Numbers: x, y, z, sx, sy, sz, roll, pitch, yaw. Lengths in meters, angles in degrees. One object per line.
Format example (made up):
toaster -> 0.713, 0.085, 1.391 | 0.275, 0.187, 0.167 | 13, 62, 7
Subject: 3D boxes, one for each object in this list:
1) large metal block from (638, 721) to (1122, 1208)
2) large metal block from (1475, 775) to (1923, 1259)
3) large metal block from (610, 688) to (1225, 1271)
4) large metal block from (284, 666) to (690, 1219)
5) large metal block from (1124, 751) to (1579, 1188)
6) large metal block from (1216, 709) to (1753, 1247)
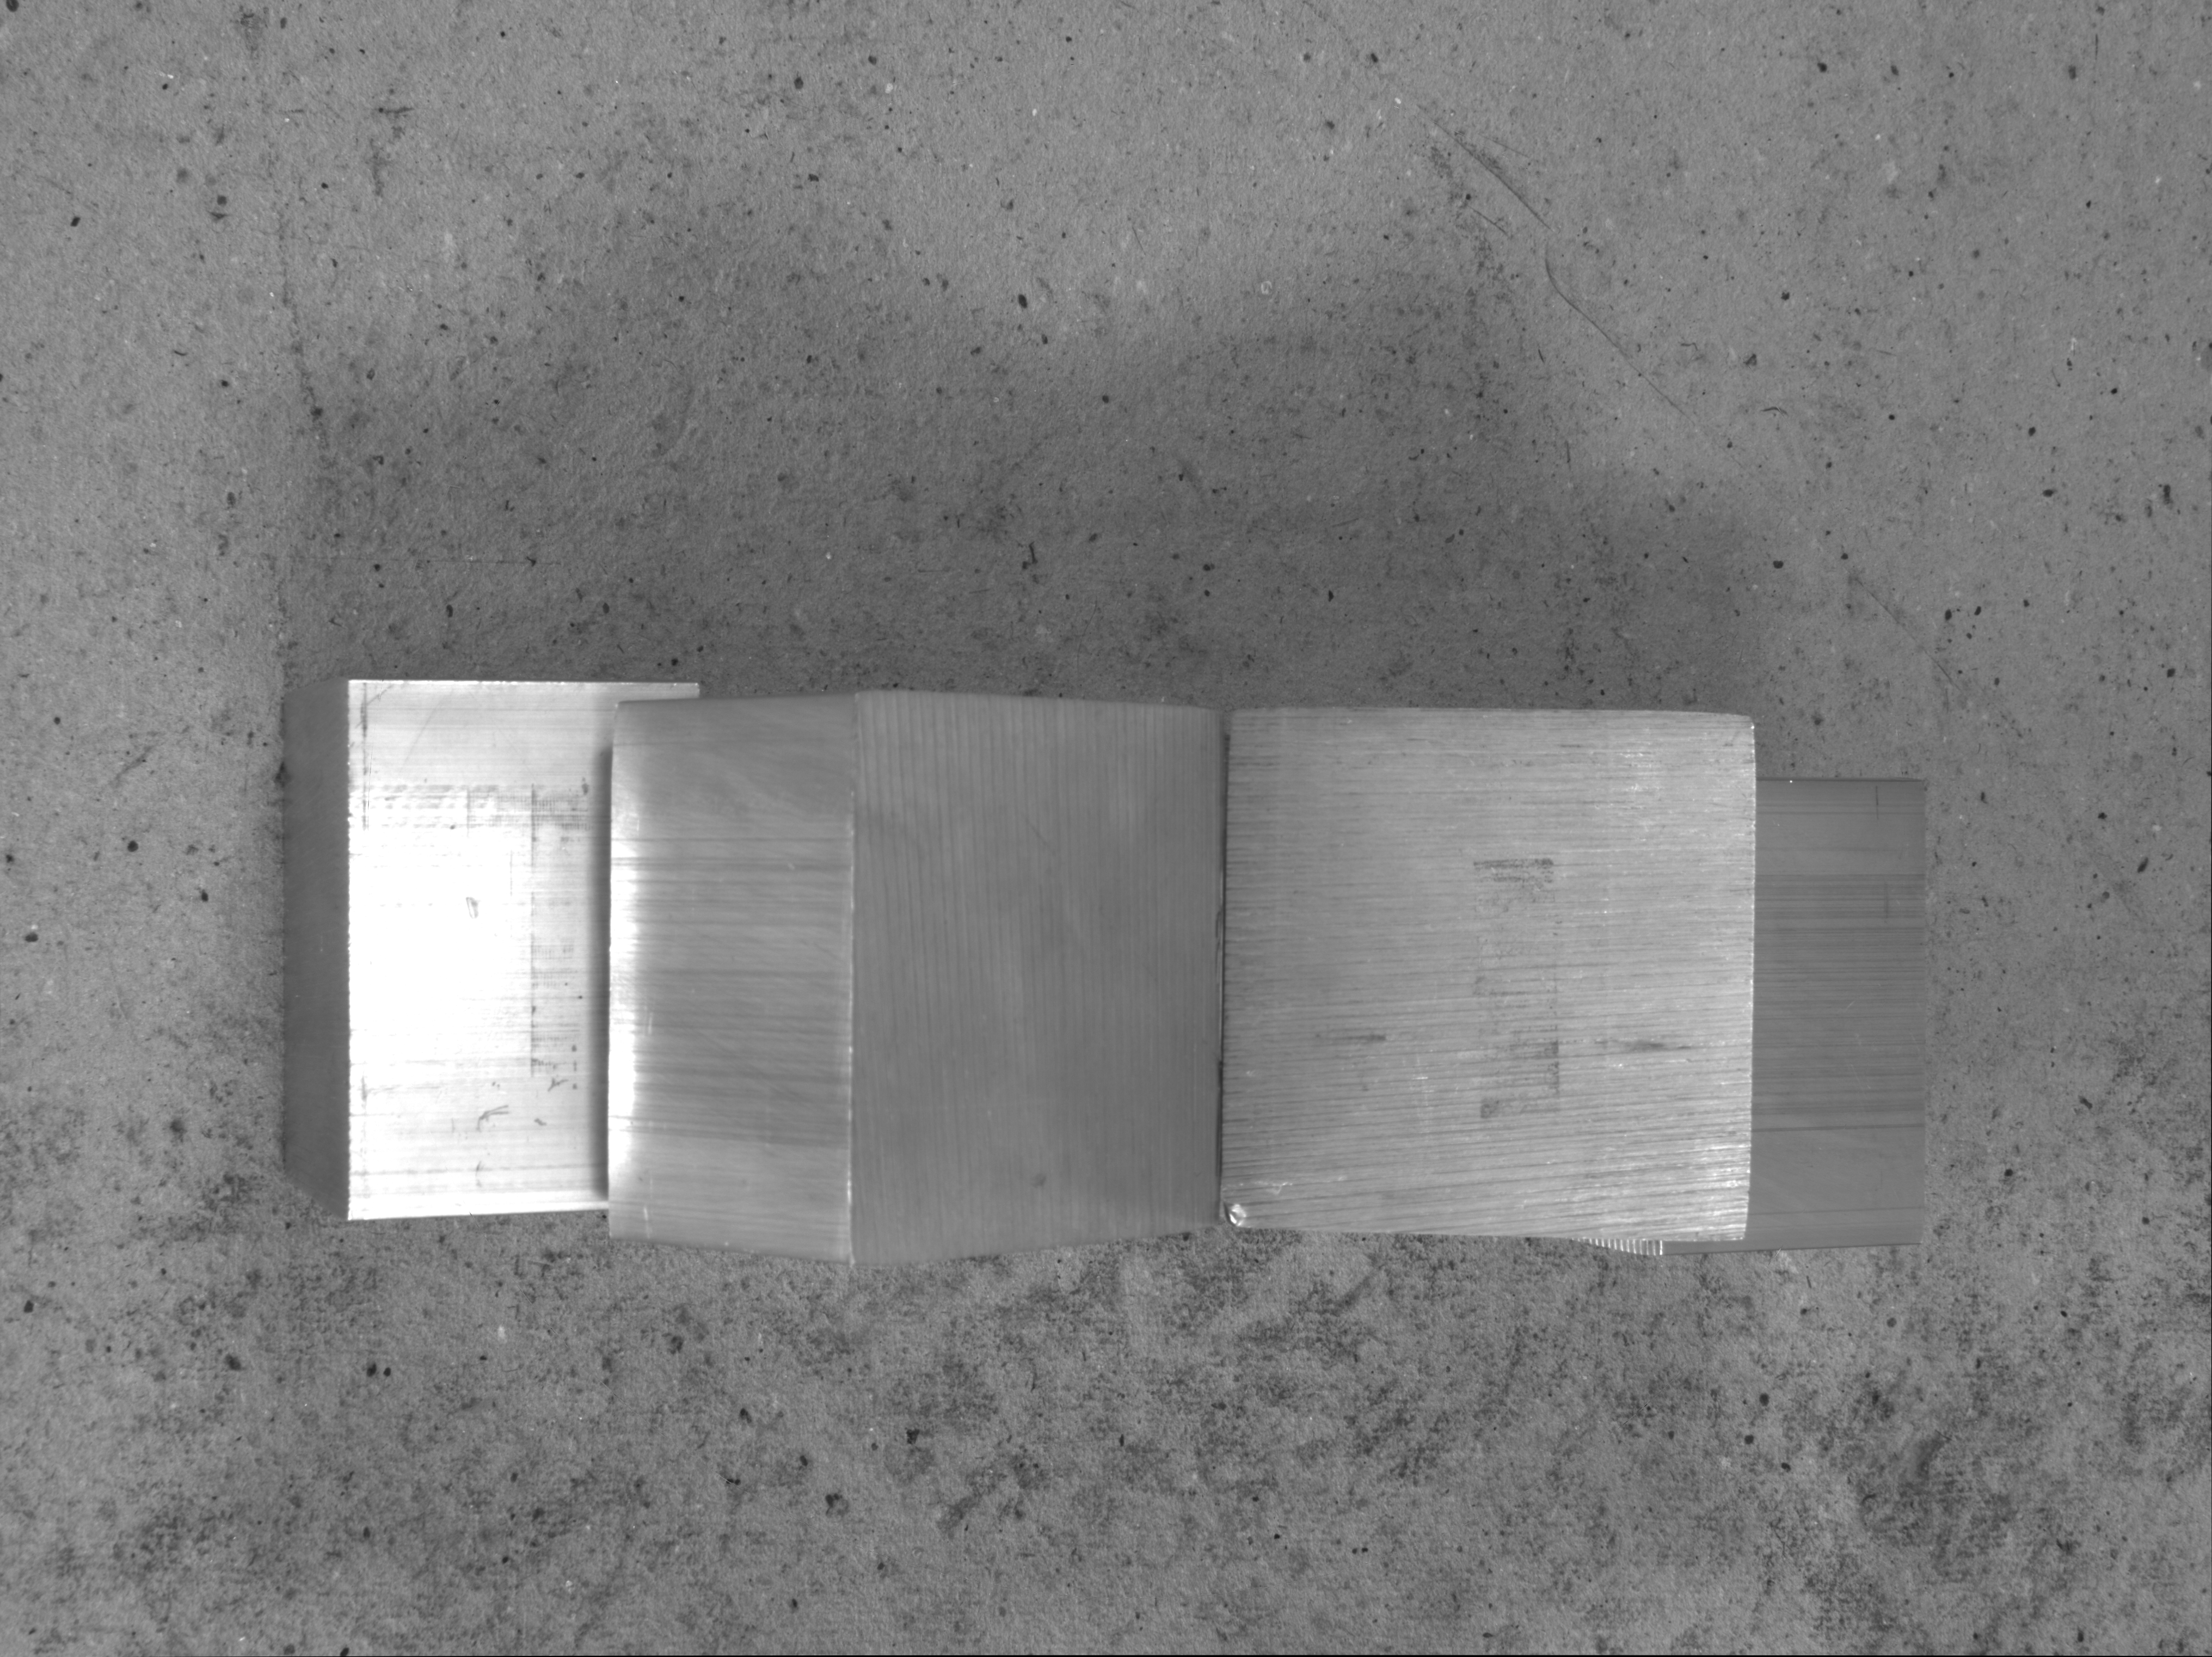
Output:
large metal block -> -0.041, 0.021, 0.614 | 0.080, 0.050, 0.080 | 0, 90, -20
large metal block -> 0.102, 0.031, 0.652 | 0.050, 0.080, 0.080 | 0, 90, -20
large metal block -> -0.027, 0.021, 0.550 | 0.080, 0.050, 0.080 | 1, 89, -49
large metal block -> -0.099, 0.017, 0.577 | 0.050, 0.080, 0.080 | 0, 89, -19
large metal block -> 0.036, 0.025, 0.641 | 0.080, 0.050, 0.080 | 0, 90, -20
large metal block -> 0.060, 0.023, 0.582 | 0.080, 0.050, 0.080 | 1, 89, 7
